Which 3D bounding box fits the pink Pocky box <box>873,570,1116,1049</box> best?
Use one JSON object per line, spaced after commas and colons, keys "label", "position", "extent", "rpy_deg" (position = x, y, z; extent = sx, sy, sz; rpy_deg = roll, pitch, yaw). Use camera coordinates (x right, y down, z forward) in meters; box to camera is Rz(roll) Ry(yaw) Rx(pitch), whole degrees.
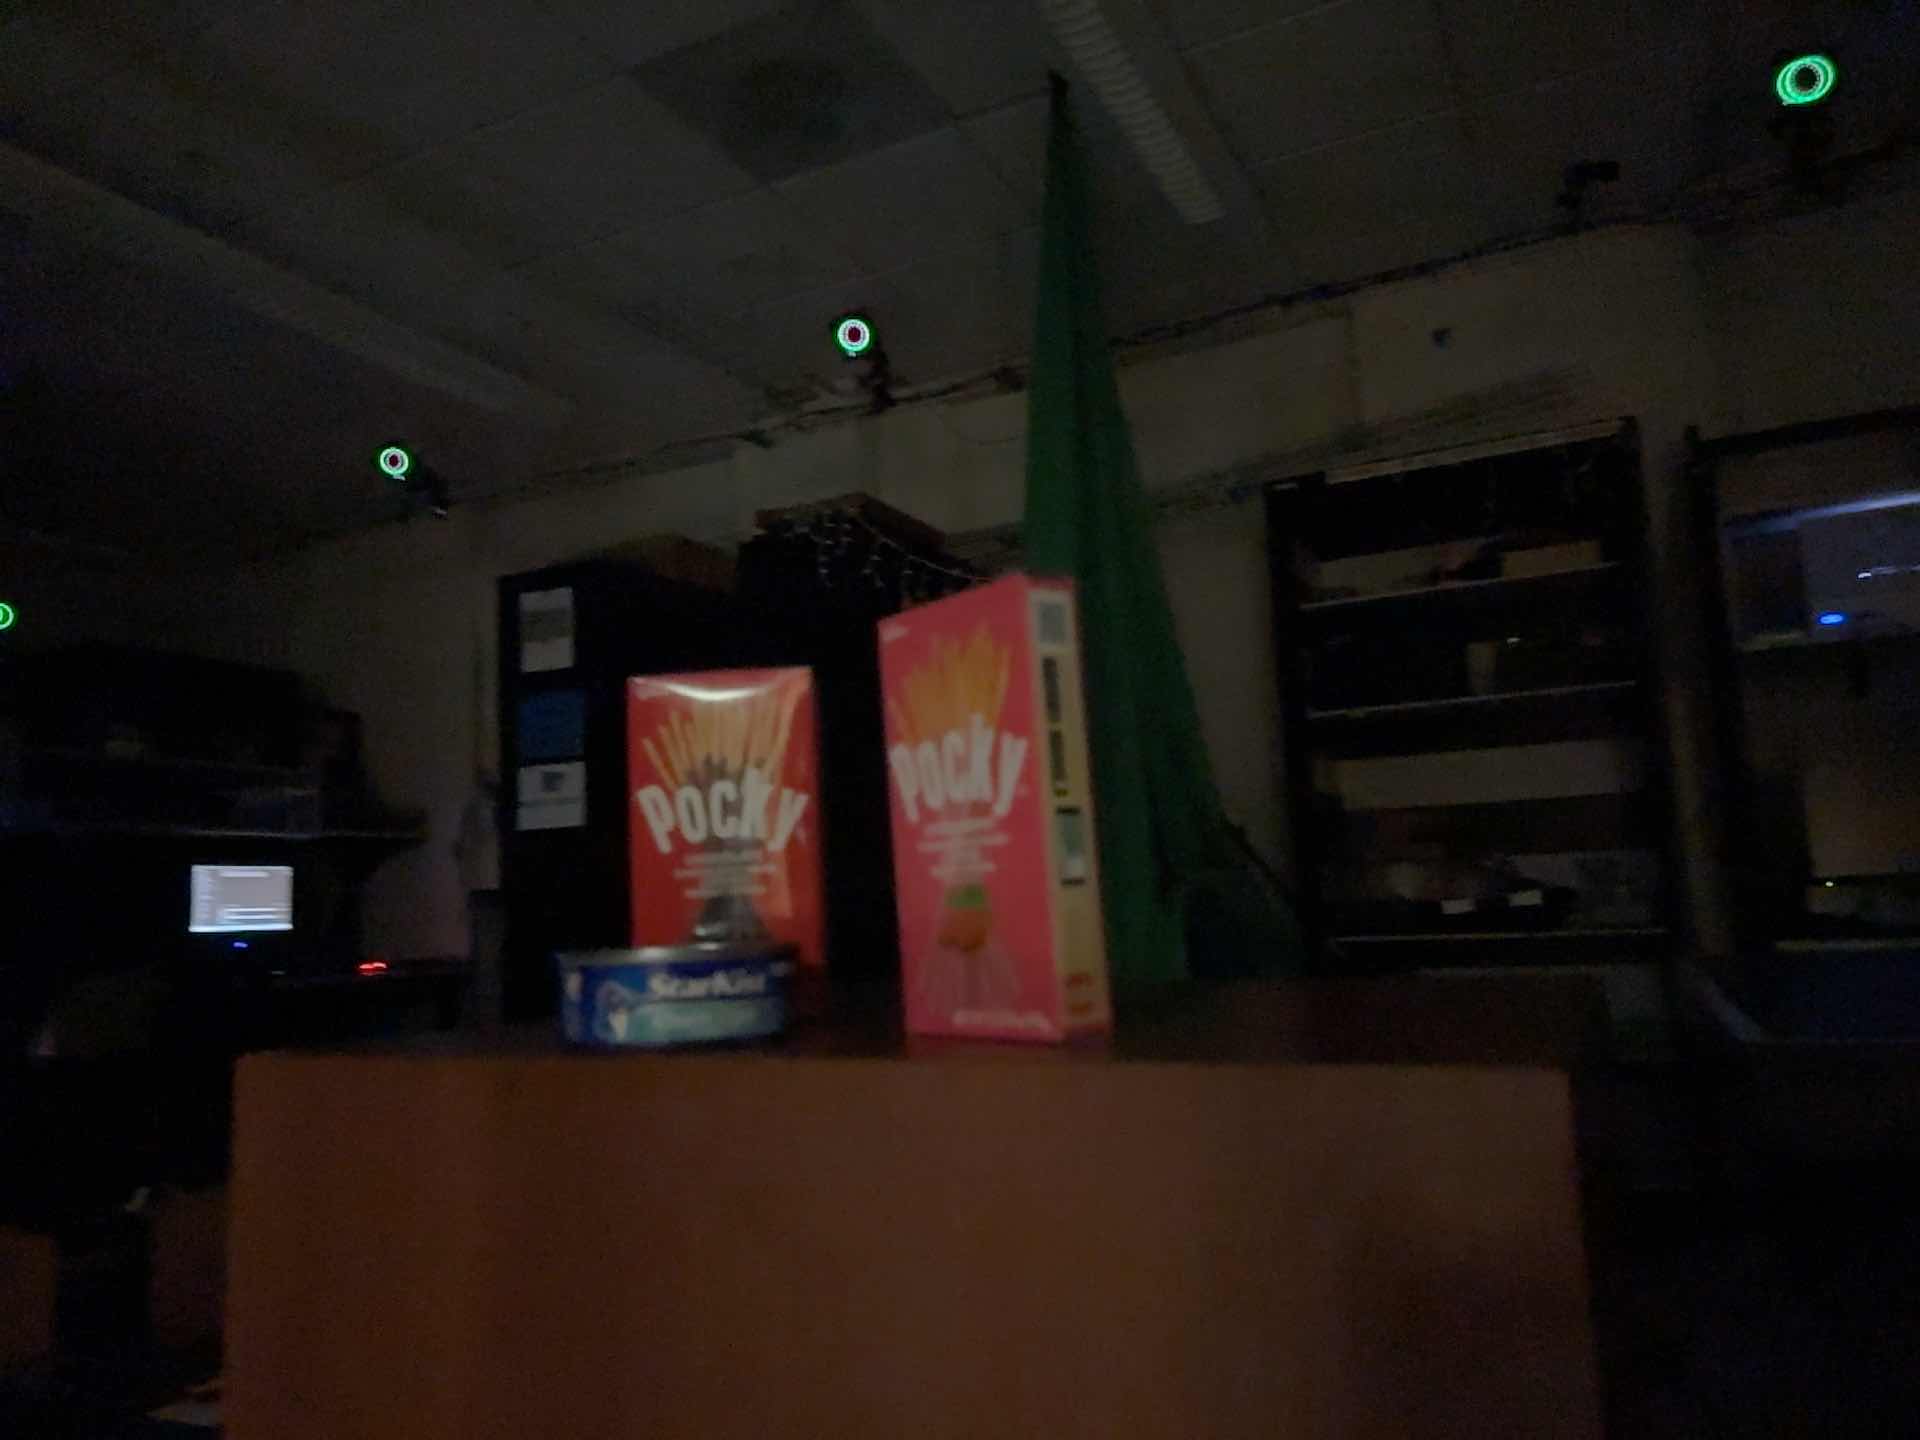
{"label": "pink Pocky box", "position": [0.009, 0.033, 0.464], "extent": [0.029, 0.155, 0.084], "rpy_deg": [1, -8, -41]}

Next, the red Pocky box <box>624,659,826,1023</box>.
{"label": "red Pocky box", "position": [-0.102, 0.052, 0.582], "extent": [0.083, 0.155, 0.028], "rpy_deg": [-3, -6, 10]}

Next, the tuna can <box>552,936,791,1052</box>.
{"label": "tuna can", "position": [-0.104, 0.098, 0.487], "extent": [0.083, 0.034, 0.083], "rpy_deg": [-3, -7, 0]}
